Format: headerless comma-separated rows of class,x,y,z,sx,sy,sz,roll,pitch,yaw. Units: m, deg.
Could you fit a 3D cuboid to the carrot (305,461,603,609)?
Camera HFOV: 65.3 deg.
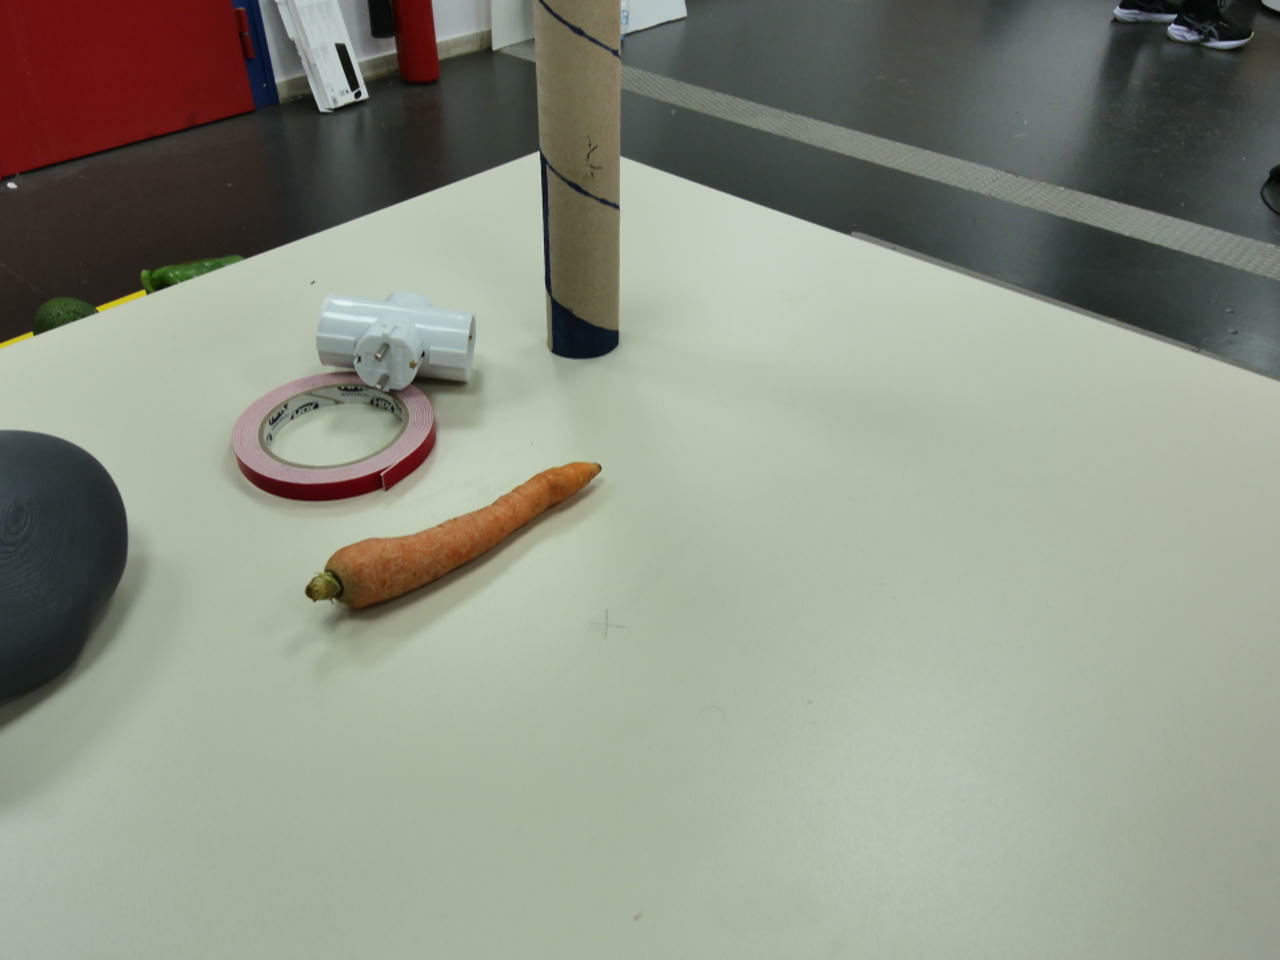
carrot,-0.083,0.022,0.491,0.173,0.032,0.030,-27,45,-32
